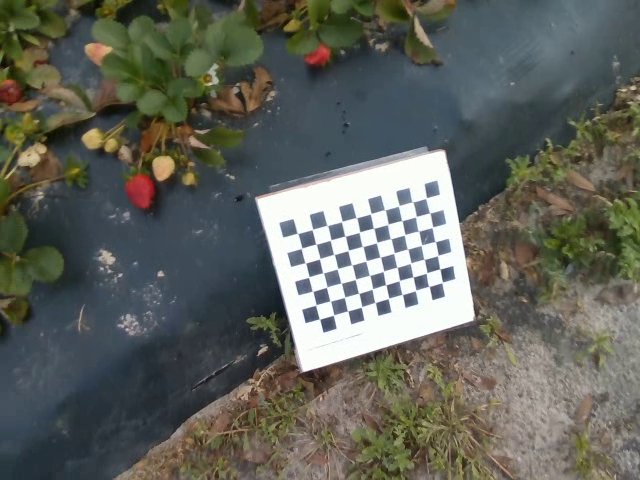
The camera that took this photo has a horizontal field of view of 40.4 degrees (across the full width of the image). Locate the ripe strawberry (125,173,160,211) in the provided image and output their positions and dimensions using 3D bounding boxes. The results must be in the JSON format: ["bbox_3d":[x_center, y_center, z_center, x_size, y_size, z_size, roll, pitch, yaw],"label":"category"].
[{"bbox_3d":[-0.245,-0.067,1.206,0.050,0.059,0.034,-26,-34,-9],"label":"ripe strawberry"}]
